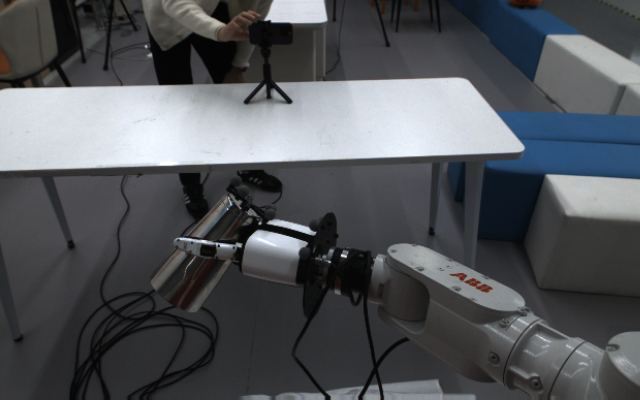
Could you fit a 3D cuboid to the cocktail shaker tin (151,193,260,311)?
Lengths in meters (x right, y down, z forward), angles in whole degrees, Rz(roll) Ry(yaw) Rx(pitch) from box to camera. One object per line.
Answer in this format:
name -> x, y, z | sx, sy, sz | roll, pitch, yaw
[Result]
cocktail shaker tin -> -0.168, 0.076, 0.735 | 0.170, 0.093, 0.093 | -50, 46, 4
